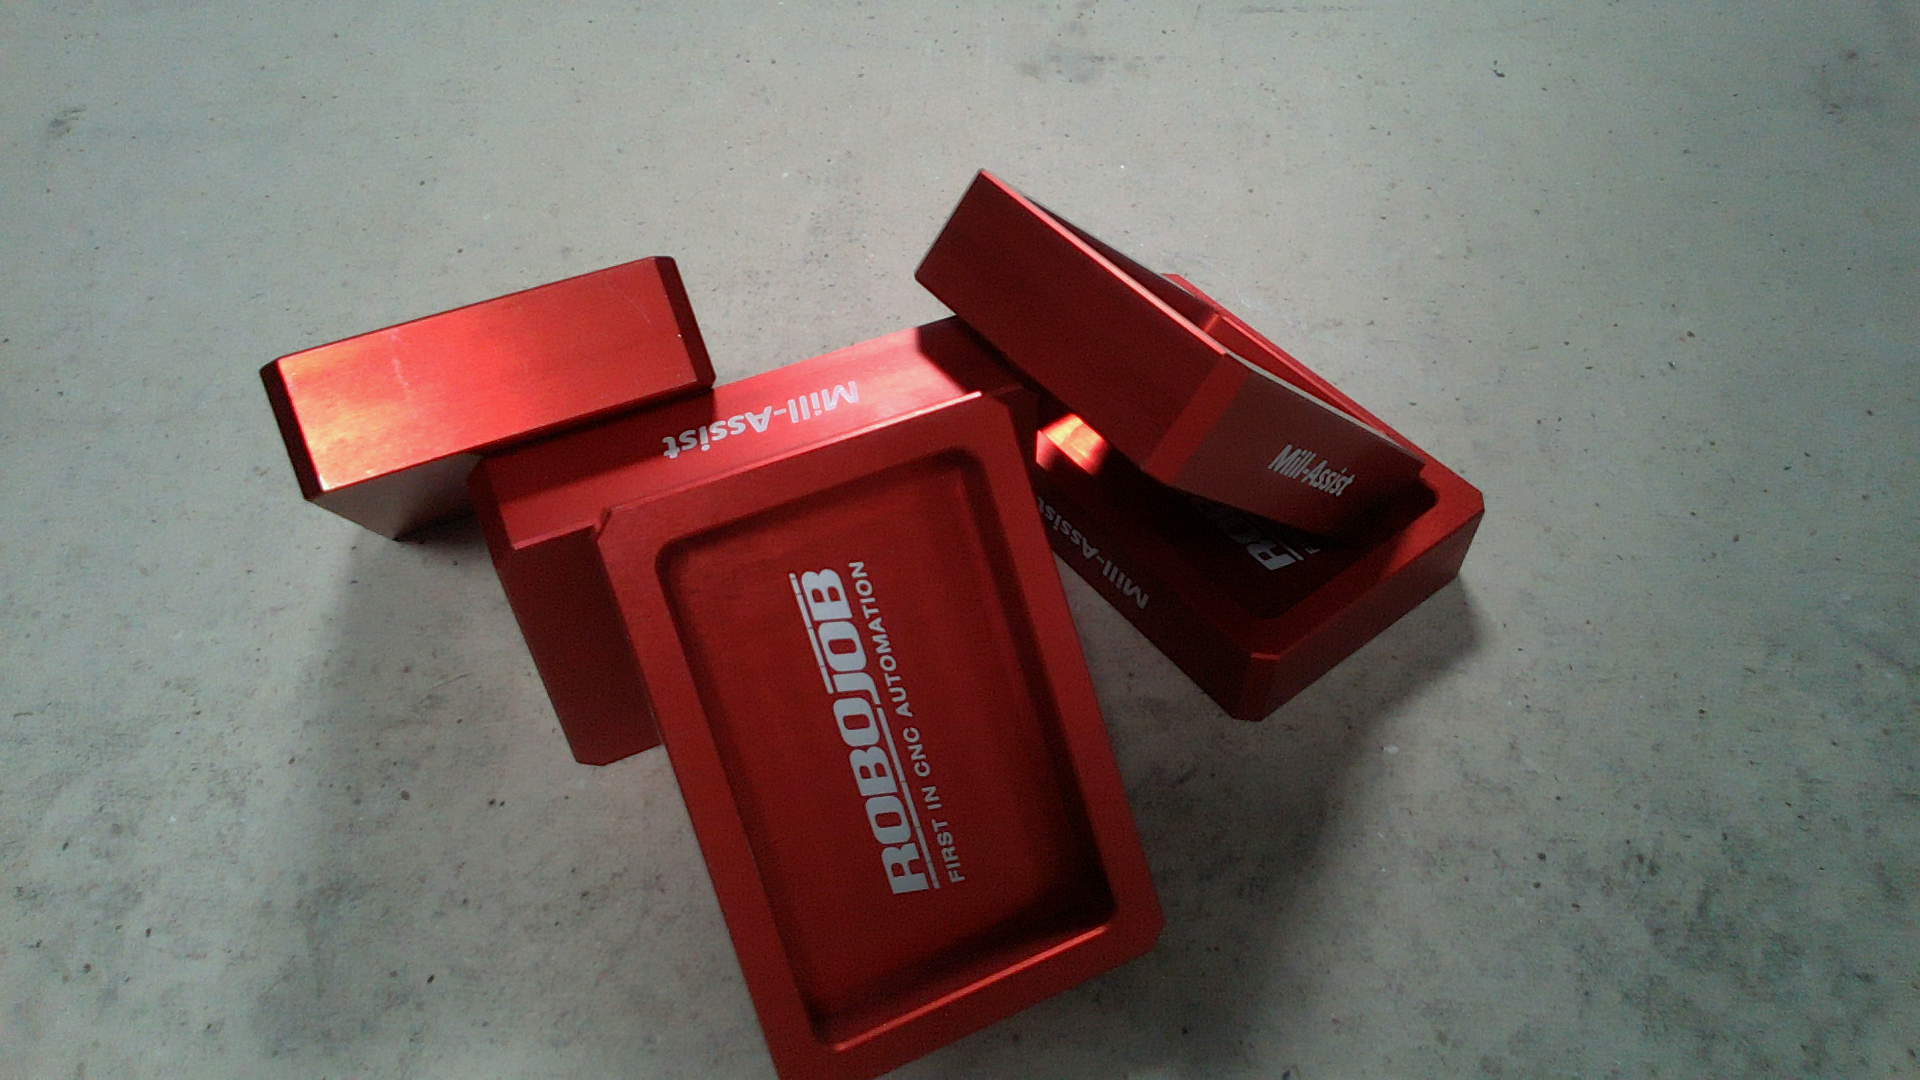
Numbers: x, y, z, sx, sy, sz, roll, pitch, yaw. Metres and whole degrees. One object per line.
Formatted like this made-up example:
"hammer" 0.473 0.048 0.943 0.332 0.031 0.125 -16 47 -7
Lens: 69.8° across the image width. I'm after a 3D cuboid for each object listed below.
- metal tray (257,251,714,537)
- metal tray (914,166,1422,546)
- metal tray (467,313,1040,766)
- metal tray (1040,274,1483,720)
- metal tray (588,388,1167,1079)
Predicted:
"metal tray" -0.117 -0.033 0.358 0.090 0.130 0.030 -19 91 -15
"metal tray" 0.058 -0.044 0.356 0.090 0.030 0.131 45 18 30
"metal tray" -0.045 0.001 0.348 0.130 0.090 0.030 -20 53 -16
"metal tray" 0.072 -0.019 0.404 0.090 0.030 0.130 -31 57 -24
"metal tray" -0.017 0.042 0.299 0.090 0.030 0.130 -20 97 -15
